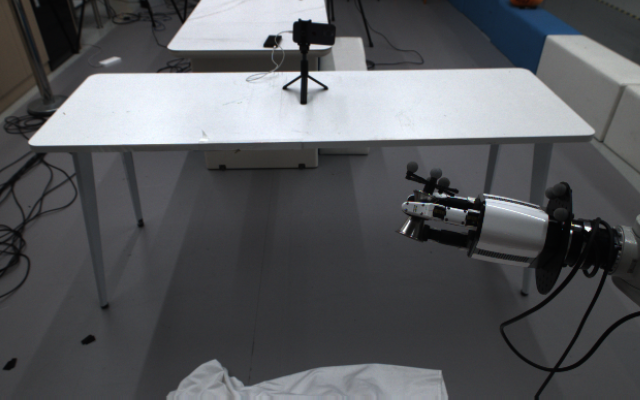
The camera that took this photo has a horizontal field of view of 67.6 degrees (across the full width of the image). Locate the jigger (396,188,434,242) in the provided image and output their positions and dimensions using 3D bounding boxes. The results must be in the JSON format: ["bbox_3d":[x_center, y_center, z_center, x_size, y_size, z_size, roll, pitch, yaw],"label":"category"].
[{"bbox_3d":[0.142,0.021,0.711,0.043,0.071,0.043,25,-3,1],"label":"jigger"}]
